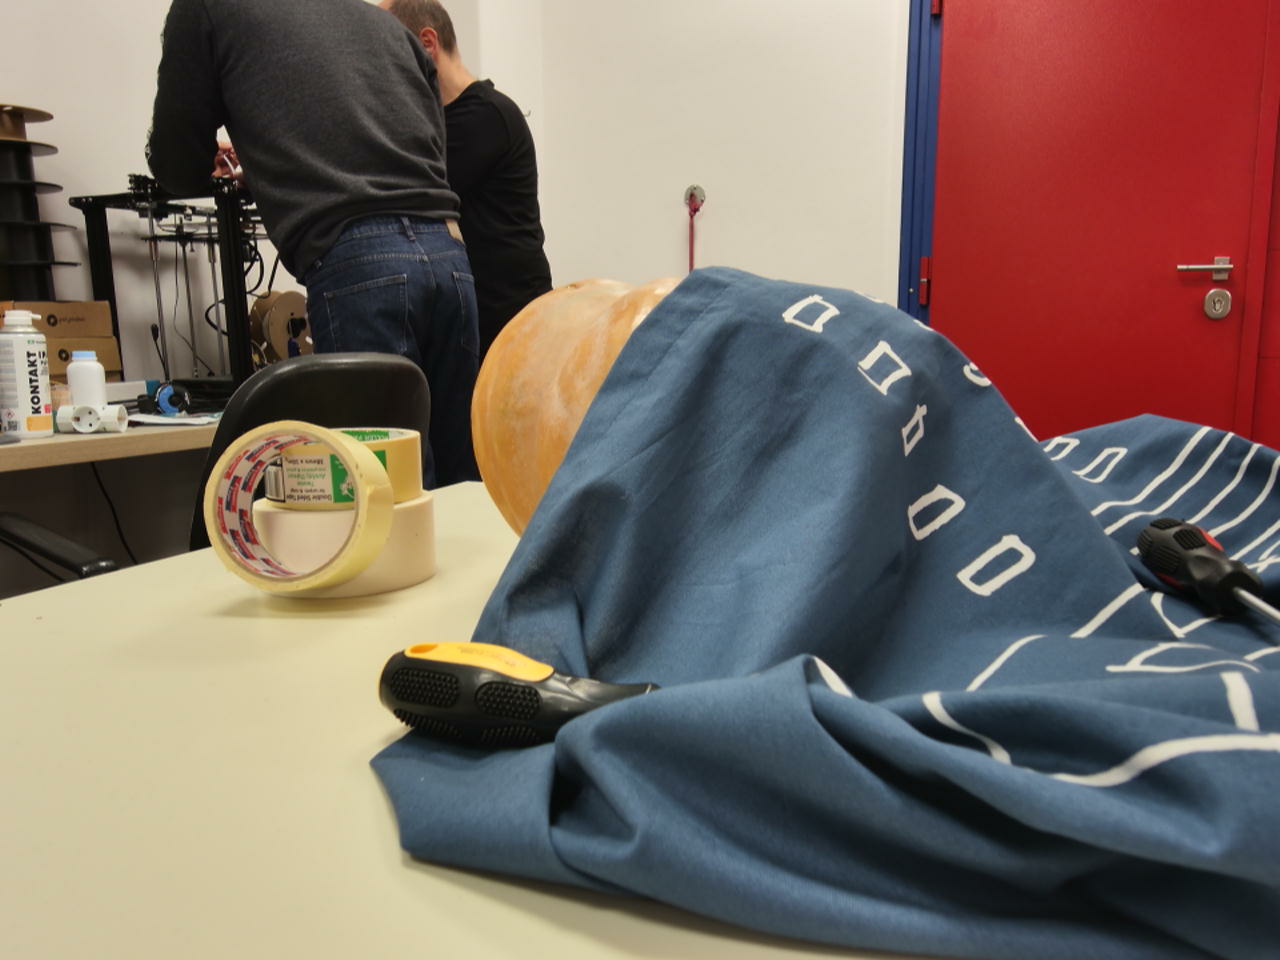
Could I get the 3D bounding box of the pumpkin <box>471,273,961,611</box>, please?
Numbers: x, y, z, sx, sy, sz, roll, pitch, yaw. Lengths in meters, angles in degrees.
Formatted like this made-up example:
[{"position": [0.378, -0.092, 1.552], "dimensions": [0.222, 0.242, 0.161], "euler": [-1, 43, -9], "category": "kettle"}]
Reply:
[{"position": [0.037, -0.026, 0.568], "dimensions": [0.277, 0.181, 0.277], "euler": [0, 6, 0], "category": "pumpkin"}]
